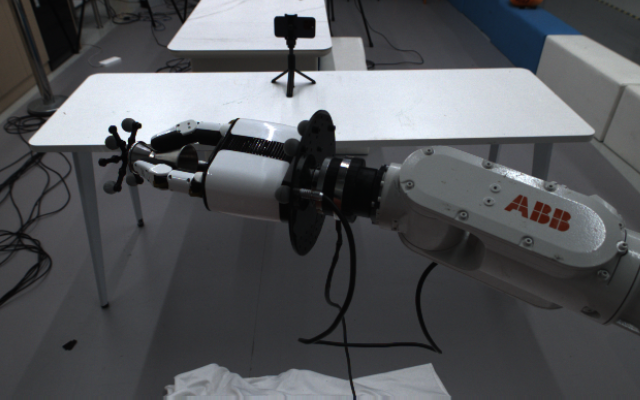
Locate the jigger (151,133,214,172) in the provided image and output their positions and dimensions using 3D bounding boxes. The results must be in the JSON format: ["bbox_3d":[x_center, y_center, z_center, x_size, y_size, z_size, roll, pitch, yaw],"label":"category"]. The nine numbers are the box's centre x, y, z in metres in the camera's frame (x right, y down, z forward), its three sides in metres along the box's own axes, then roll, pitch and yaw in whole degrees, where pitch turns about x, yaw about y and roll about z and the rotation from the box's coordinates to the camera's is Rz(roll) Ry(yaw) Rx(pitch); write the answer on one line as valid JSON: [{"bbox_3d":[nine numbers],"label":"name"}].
[{"bbox_3d":[-0.179,-0.049,0.570,0.071,0.043,0.043,7,35,16],"label":"jigger"}]
